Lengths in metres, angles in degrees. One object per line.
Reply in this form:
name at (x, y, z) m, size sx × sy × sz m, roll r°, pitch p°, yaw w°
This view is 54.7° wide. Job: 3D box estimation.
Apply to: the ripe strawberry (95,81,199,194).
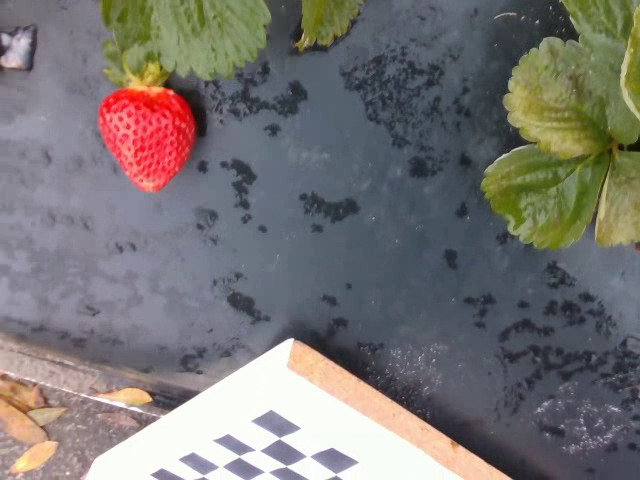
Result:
ripe strawberry at (-0.079, -0.046, 0.287) m, size 0.045 × 0.054 × 0.048 m, roll 1°, pitch -4°, yaw 19°
